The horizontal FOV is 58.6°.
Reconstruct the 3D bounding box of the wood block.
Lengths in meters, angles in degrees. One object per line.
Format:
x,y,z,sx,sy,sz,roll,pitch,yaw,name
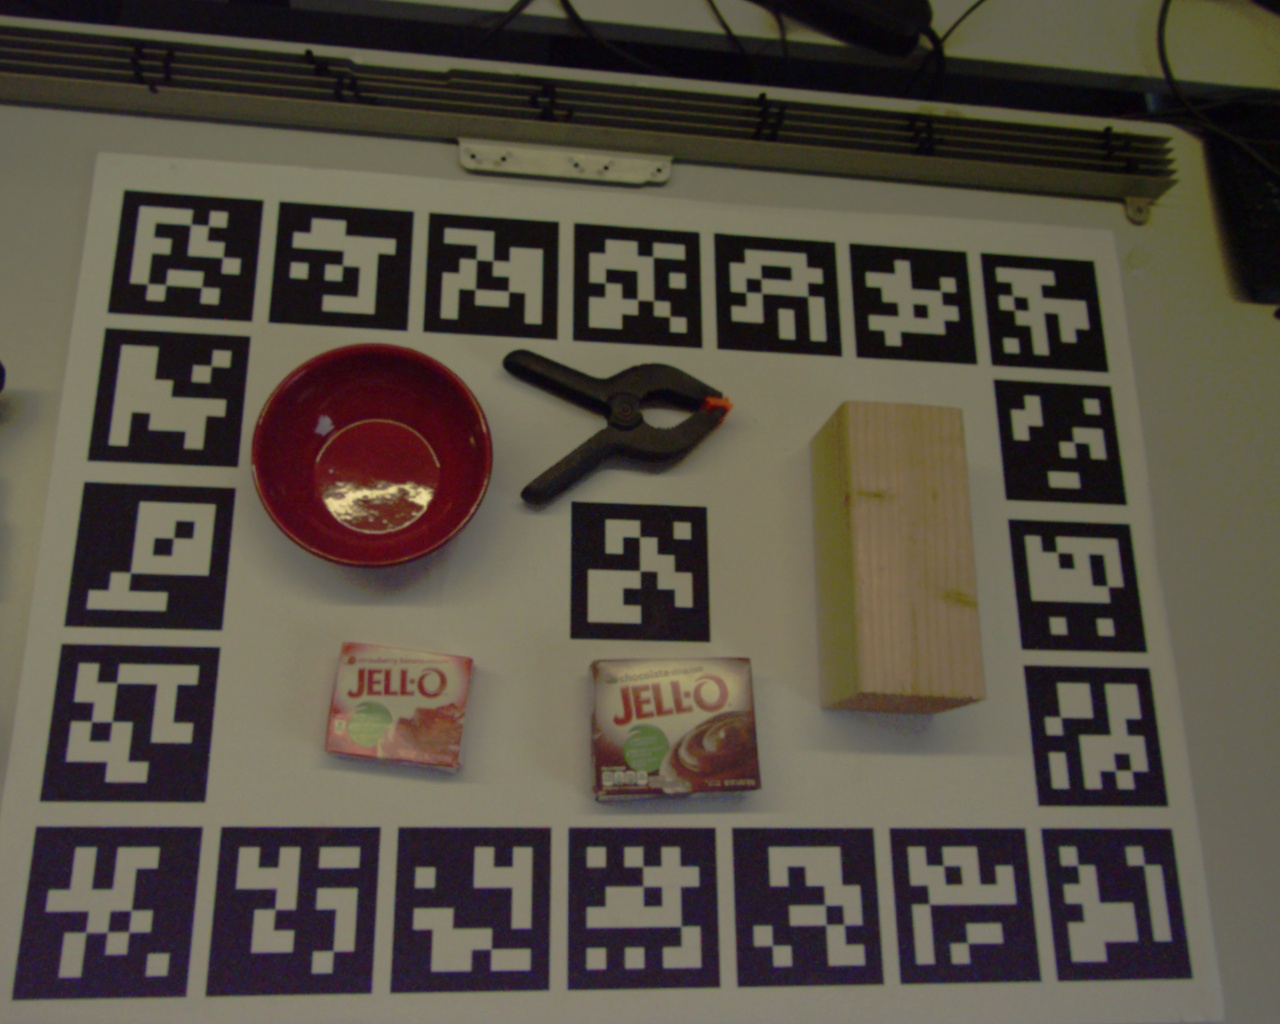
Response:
0.177,0.042,0.841,0.089,0.091,0.206,5,74,-9,wood block

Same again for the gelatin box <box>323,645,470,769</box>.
-0.168,0.136,0.792,0.089,0.030,0.073,10,75,-6,gelatin box

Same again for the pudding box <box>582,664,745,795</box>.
0.016,0.155,0.812,0.113,0.039,0.090,1,78,-6,pudding box

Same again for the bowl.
-0.192,-0.032,0.831,0.161,0.055,0.162,2,77,-9,bowl

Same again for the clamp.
-0.035,-0.063,0.875,0.164,0.037,0.122,-8,75,-13,clamp
